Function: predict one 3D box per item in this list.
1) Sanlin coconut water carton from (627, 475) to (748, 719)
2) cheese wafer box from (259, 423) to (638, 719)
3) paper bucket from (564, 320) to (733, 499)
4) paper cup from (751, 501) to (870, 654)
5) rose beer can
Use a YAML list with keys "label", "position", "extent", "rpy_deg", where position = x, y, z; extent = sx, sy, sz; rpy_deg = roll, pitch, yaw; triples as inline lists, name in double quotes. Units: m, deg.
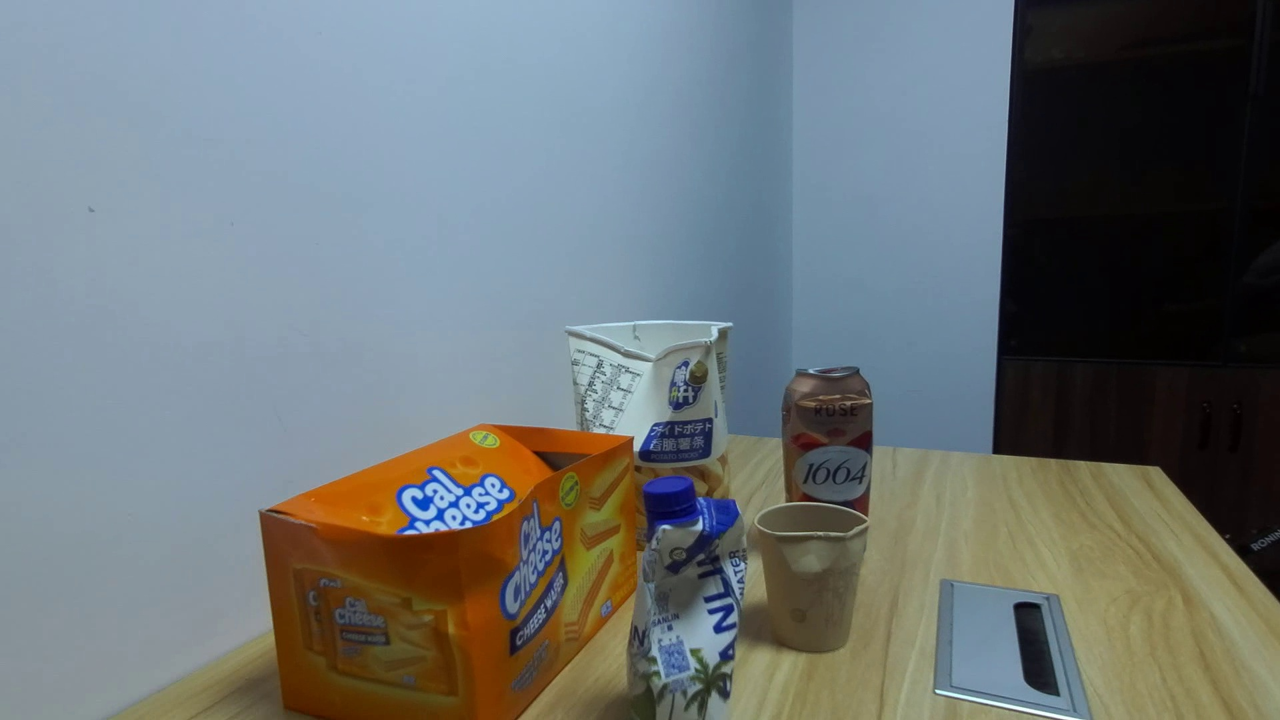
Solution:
- label: "Sanlin coconut water carton"
  position: [0.029, 0.137, 0.390]
  extent: [0.068, 0.144, 0.056]
  rpy_deg: [6, 15, -7]
- label: "cheese wafer box"
  position: [-0.108, 0.136, 0.482]
  extent: [0.152, 0.132, 0.231]
  rpy_deg: [3, 8, 22]
- label: "paper bucket"
  position: [0.008, 0.066, 0.696]
  extent: [0.162, 0.202, 0.169]
  rpy_deg: [-1, 7, 14]
- label: "paper cup"
  position: [0.118, 0.149, 0.485]
  extent: [0.074, 0.081, 0.068]
  rpy_deg: [-6, 8, -32]
- label: "rose beer can"
  position: [0.161, 0.089, 0.606]
  extent: [0.075, 0.167, 0.065]
  rpy_deg: [-2, 6, 13]
